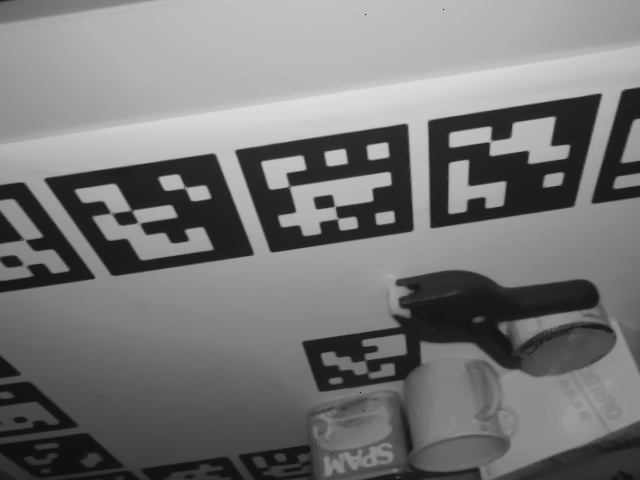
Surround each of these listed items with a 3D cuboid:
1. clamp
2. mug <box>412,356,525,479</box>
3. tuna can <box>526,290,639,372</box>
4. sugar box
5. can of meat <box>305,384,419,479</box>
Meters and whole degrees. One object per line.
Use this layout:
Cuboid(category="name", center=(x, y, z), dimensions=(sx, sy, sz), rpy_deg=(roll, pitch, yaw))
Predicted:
Cuboid(category="clamp", center=(0.133, 0.039, 0.539), dimensions=(0.166, 0.037, 0.120), rpy_deg=(21, 135, -20))
Cuboid(category="mug", center=(0.131, 0.150, 0.610), dimensions=(0.094, 0.082, 0.115), rpy_deg=(11, 132, -16))
Cuboid(category="tuna can", center=(0.216, 0.071, 0.575), dimensions=(0.086, 0.034, 0.085), rpy_deg=(-3, 135, -3))
Cuboid(category="sugar box", center=(0.224, 0.147, 0.621), dimensions=(0.174, 0.093, 0.046), rpy_deg=(-34, 131, 29))
Cuboid(category="can of meat", center=(0.036, 0.190, 0.653), dimensions=(0.101, 0.084, 0.057), rpy_deg=(-12, 137, 8))
